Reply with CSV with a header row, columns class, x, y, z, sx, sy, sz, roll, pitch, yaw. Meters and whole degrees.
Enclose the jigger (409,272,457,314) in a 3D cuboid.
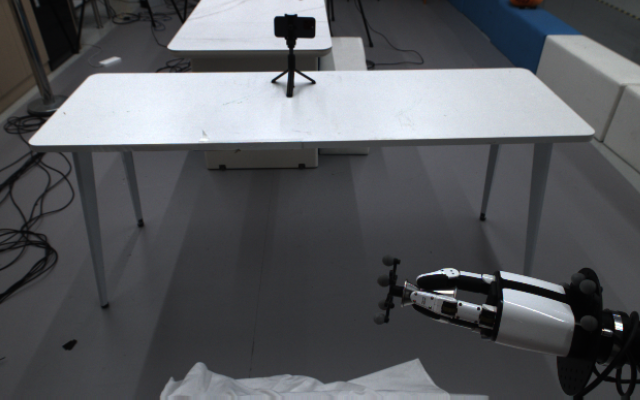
class,x,y,z,sx,sy,sz,roll,pitch,yaw
jigger,0.154,0.128,0.654,0.071,0.043,0.043,8,35,15
